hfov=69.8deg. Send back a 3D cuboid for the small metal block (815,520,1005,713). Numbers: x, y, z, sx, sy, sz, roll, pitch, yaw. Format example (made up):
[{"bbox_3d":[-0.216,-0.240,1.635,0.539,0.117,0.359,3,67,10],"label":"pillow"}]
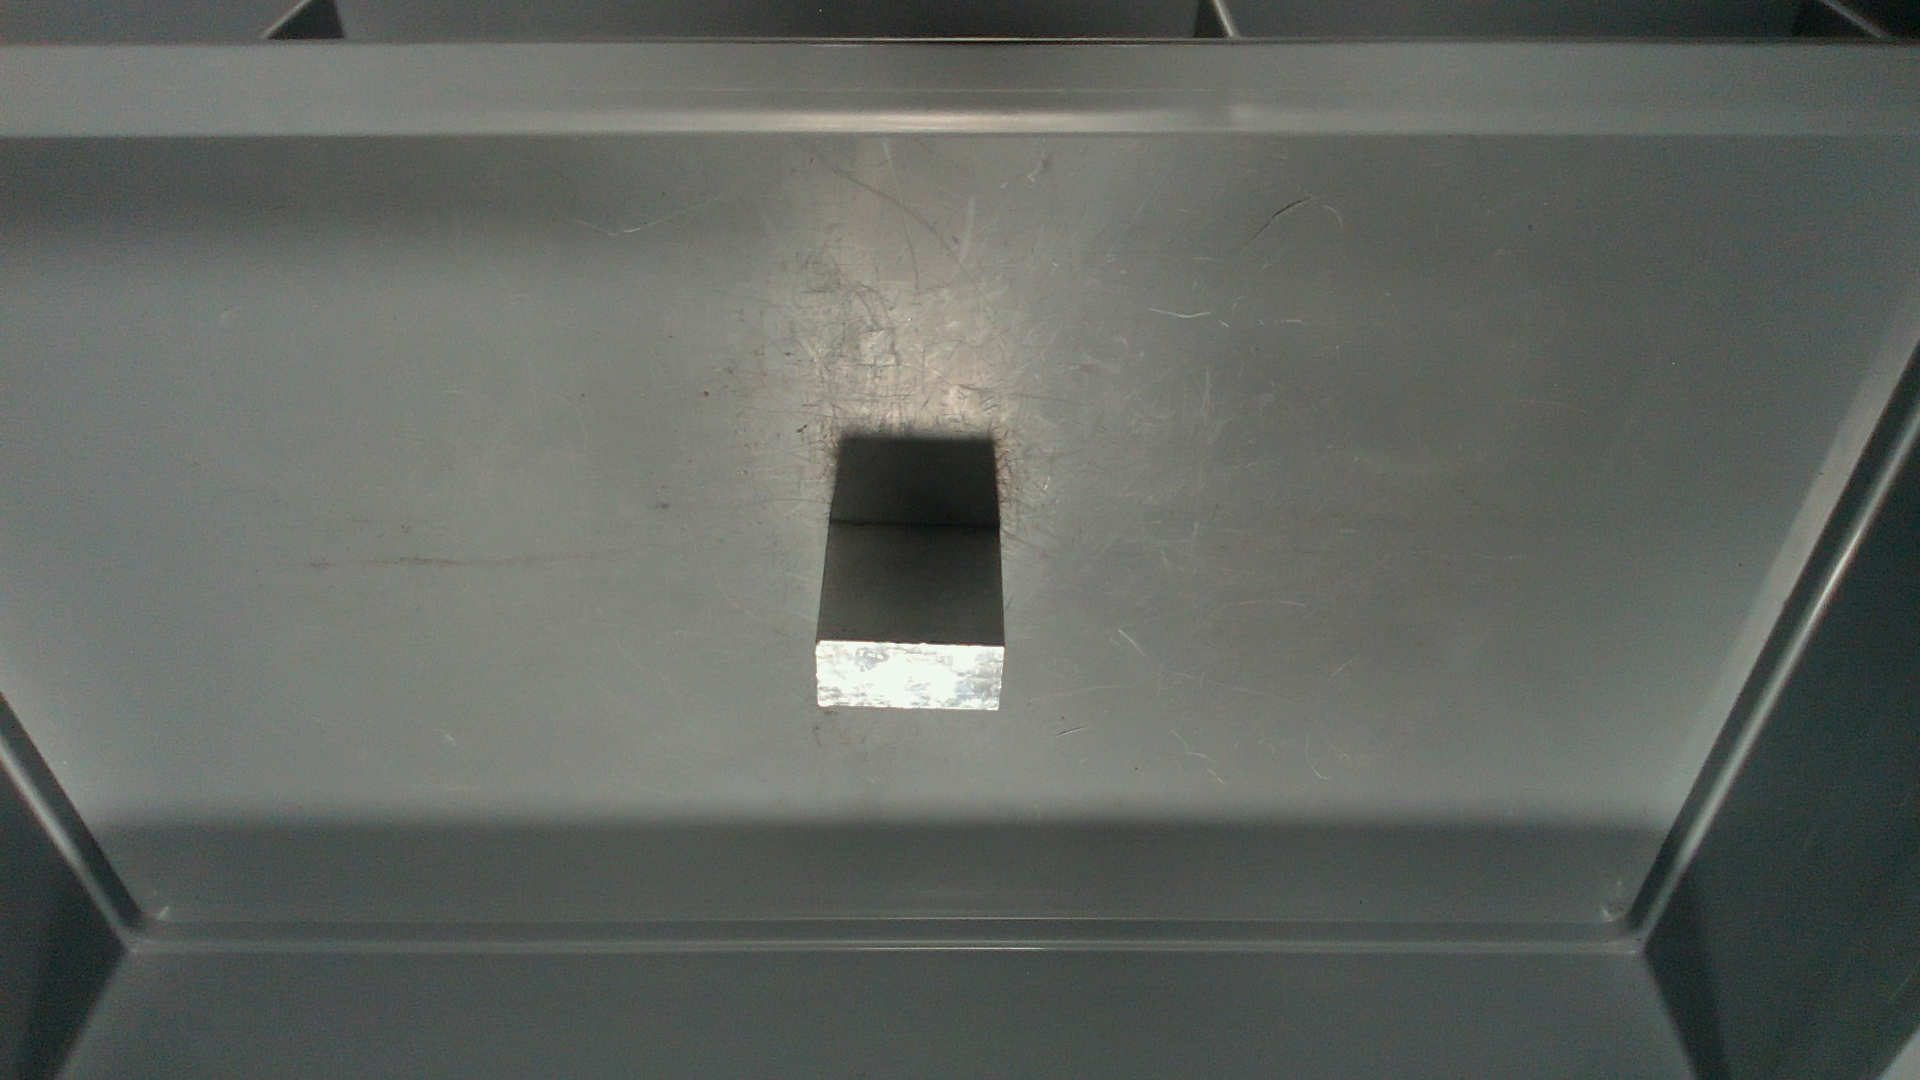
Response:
[{"bbox_3d":[-0.014,0.021,0.388,0.050,0.050,0.025,2,130,-2],"label":"small metal block"}]
